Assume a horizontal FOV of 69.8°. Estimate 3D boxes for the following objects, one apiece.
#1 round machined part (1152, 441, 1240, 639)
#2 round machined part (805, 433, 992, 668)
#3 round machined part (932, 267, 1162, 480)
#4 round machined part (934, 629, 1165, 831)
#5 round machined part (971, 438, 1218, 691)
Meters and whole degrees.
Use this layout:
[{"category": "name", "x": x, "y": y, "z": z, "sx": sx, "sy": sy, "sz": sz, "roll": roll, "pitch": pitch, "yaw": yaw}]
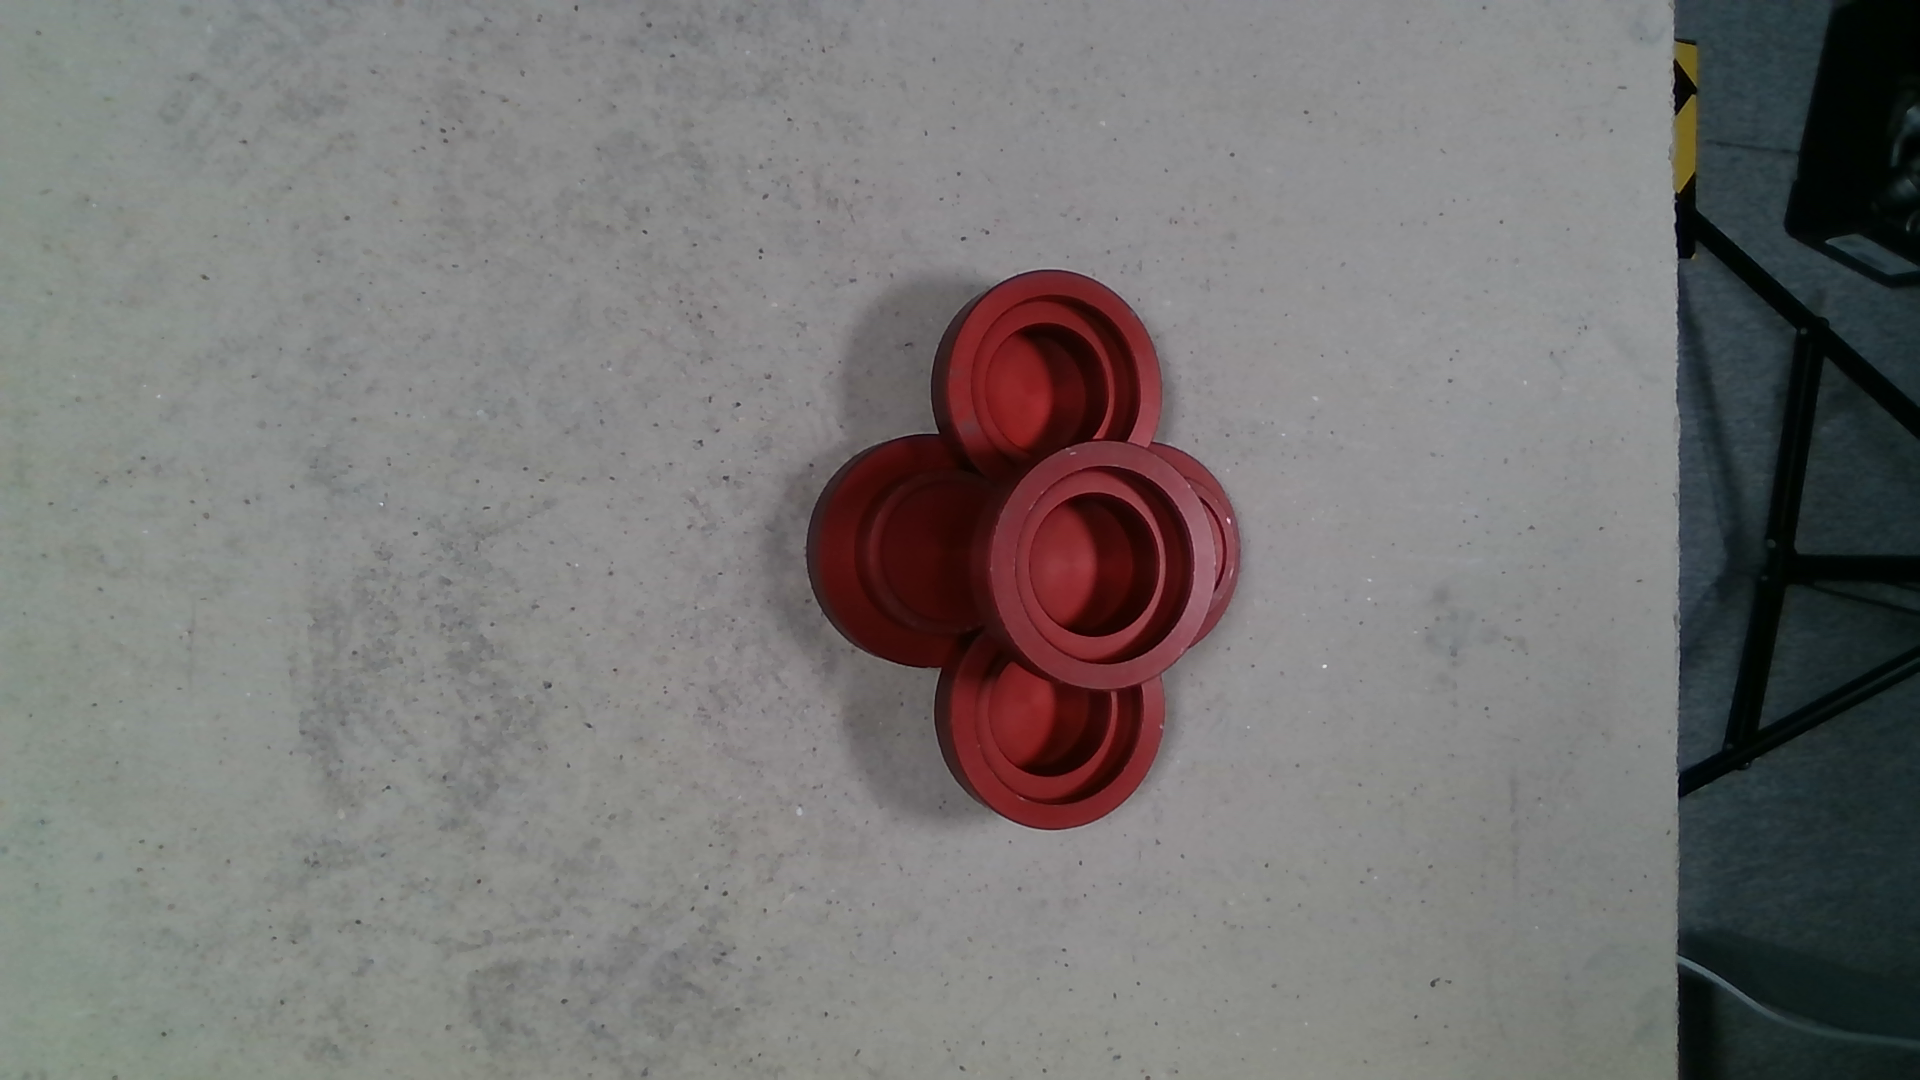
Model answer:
[{"category": "round machined part", "x": 0.082, "y": 0.005, "z": 0.607, "sx": 0.098, "sy": 0.042, "sz": 0.098, "roll": 0, "pitch": 90, "yaw": -20}, {"category": "round machined part", "x": -0.012, "y": 0.004, "z": 0.573, "sx": 0.098, "sy": 0.042, "sz": 0.098, "roll": 0, "pitch": 90, "yaw": -20}, {"category": "round machined part", "x": 0.034, "y": -0.064, "z": 0.589, "sx": 0.098, "sy": 0.042, "sz": 0.098, "roll": 0, "pitch": 90, "yaw": -20}, {"category": "round machined part", "x": 0.035, "y": 0.072, "z": 0.590, "sx": 0.098, "sy": 0.042, "sz": 0.098, "roll": 0, "pitch": 90, "yaw": -20}, {"category": "round machined part", "x": 0.050, "y": 0.010, "z": 0.550, "sx": 0.098, "sy": 0.042, "sz": 0.098, "roll": 0, "pitch": 90, "yaw": -20}]
